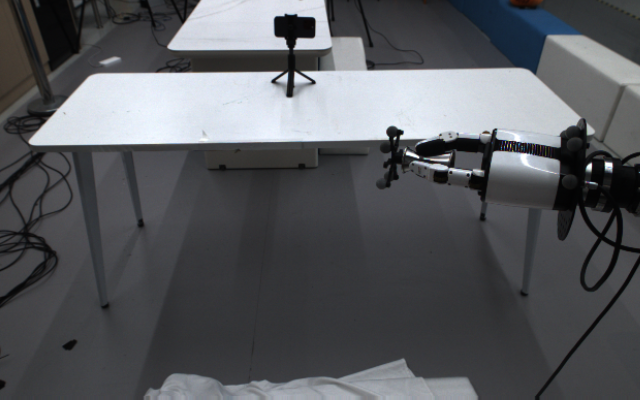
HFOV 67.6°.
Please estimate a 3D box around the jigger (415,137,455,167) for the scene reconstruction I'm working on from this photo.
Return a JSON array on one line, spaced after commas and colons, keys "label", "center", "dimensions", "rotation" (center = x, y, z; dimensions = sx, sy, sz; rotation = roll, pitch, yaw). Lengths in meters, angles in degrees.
[{"label": "jigger", "center": [0.161, -0.057, 0.694], "dimensions": [0.071, 0.043, 0.043], "rotation": [10, 35, 22]}]
